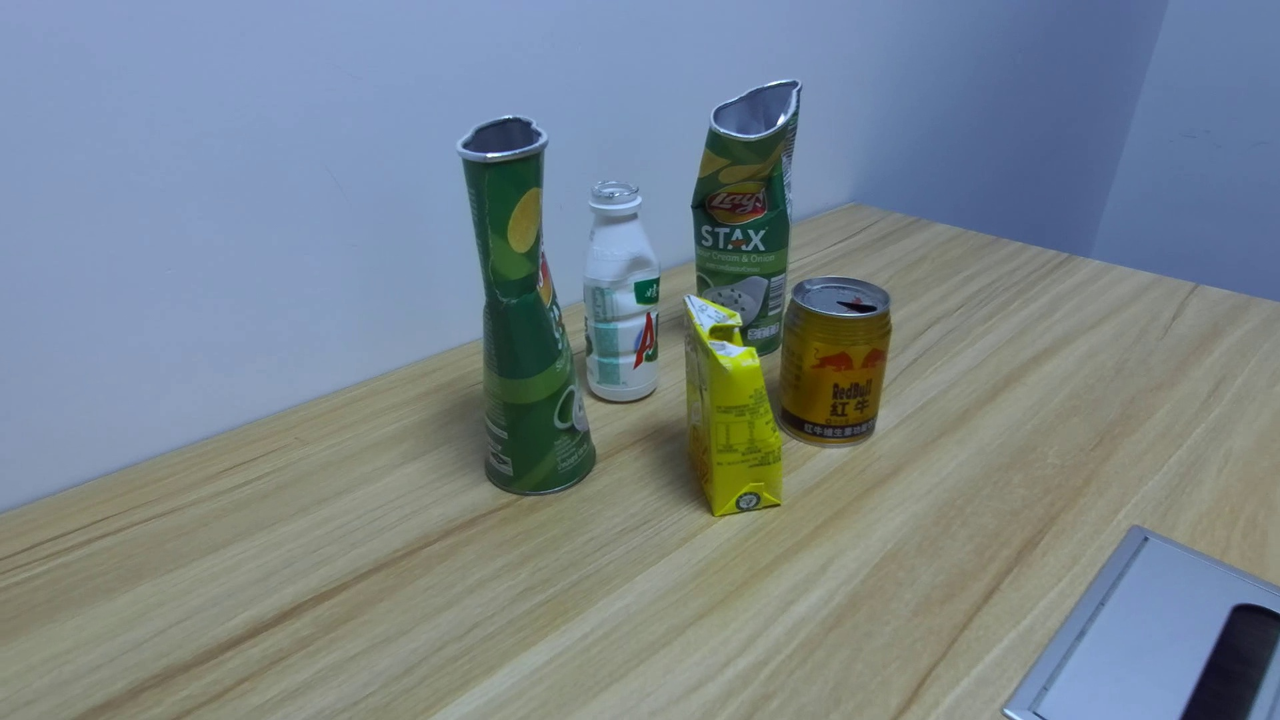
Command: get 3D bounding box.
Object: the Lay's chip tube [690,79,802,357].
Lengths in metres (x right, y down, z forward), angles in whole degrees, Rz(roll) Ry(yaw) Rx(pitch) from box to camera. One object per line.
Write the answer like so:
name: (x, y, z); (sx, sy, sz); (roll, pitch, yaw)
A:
Lay's chip tube: (0.080, -0.096, 0.520); (0.079, 0.199, 0.071); (-6, 37, -4)

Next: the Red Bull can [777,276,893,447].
Red Bull can: (0.124, 0.000, 0.454); (0.067, 0.093, 0.067); (0, 28, 0)

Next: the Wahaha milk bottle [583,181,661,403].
Wahaha milk bottle: (-0.013, -0.043, 0.479); (0.055, 0.149, 0.055); (1, 29, 0)

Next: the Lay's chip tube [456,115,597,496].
Lay's chip tube: (-0.066, -0.024, 0.396); (0.069, 0.200, 0.074); (-26, 37, -36)

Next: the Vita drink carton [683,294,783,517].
Vita drink carton: (0.053, 0.024, 0.396); (0.046, 0.110, 0.071); (-8, 30, -7)
